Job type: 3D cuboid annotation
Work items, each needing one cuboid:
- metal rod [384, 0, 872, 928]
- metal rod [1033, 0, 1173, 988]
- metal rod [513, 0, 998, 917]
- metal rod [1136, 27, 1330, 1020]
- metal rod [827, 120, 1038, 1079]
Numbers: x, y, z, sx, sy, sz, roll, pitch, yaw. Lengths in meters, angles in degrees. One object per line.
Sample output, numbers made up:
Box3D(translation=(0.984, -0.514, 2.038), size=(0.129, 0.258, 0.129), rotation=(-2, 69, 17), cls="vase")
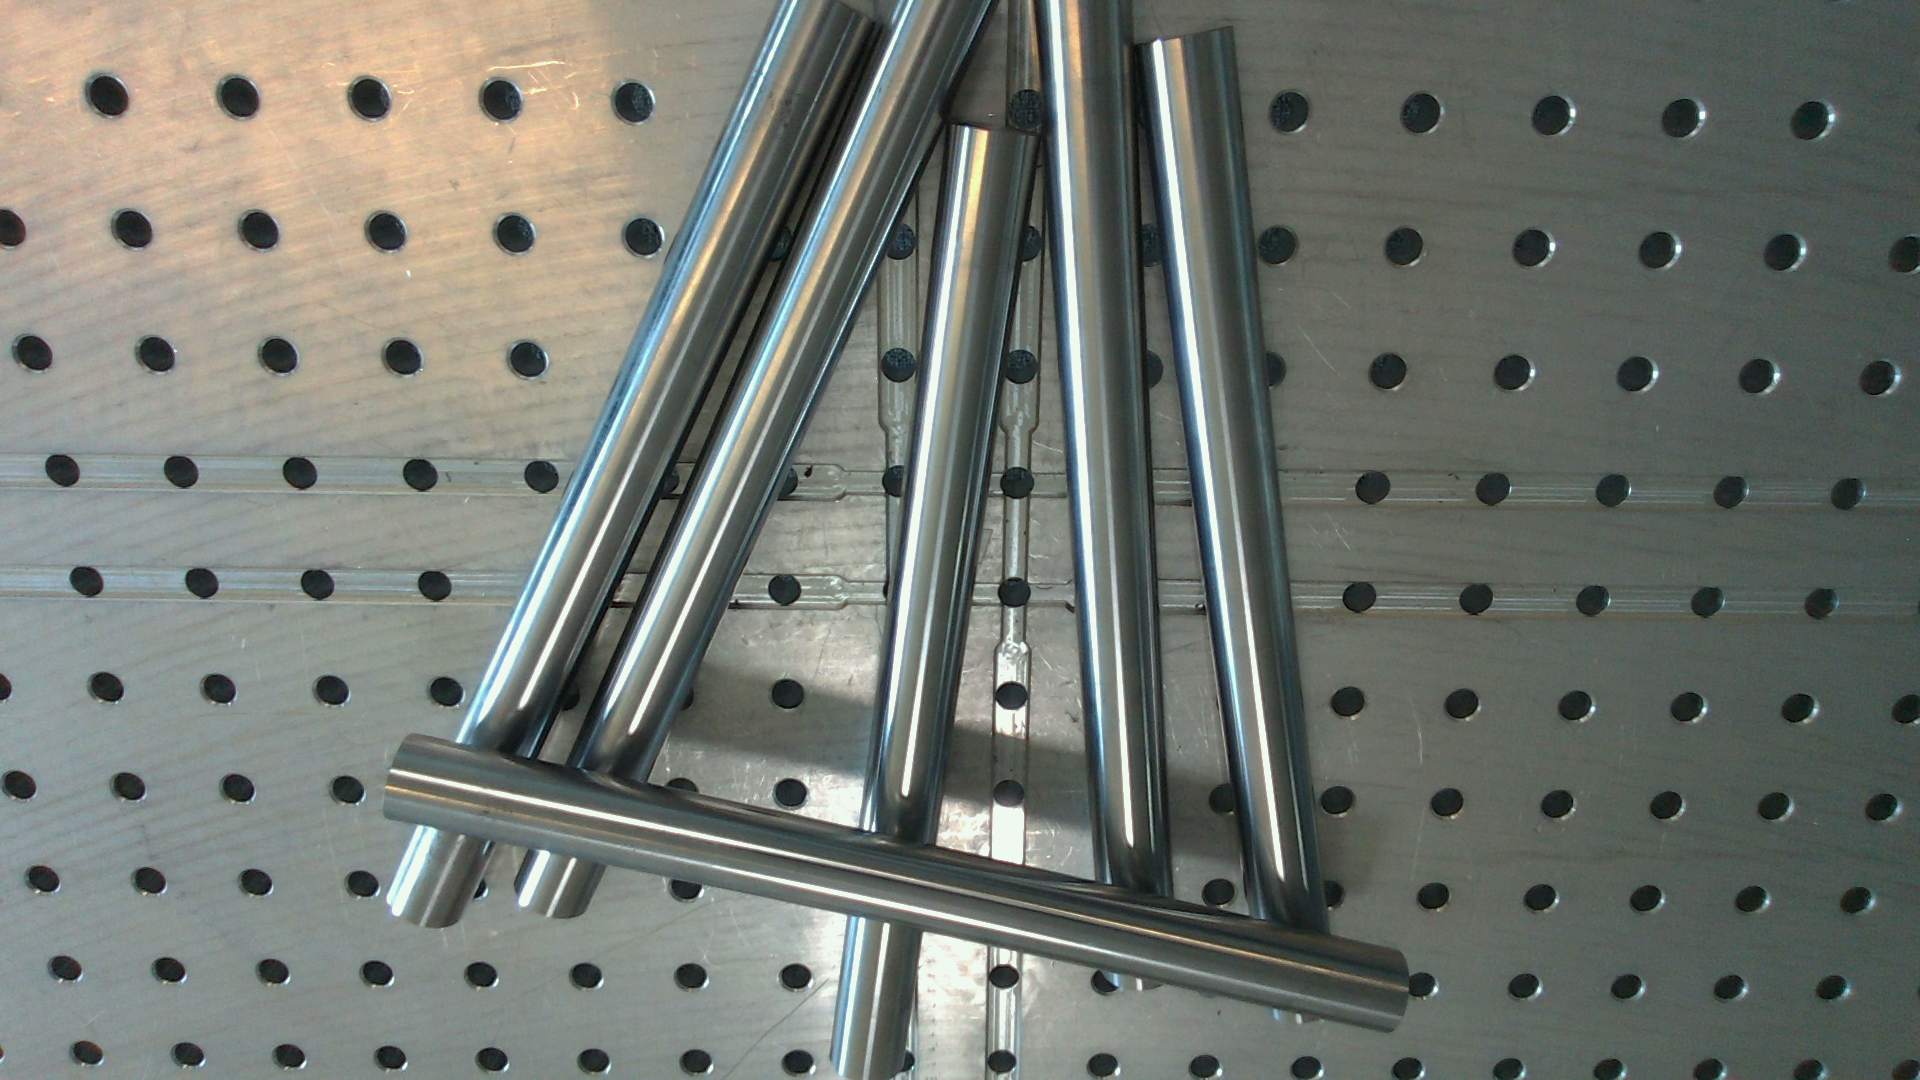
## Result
Box3D(translation=(-0.102, -0.011, 0.391), size=(0.025, 0.025, 0.300), rotation=(26, 108, -9), cls="metal rod")
Box3D(translation=(0.044, -0.002, 0.396), size=(0.025, 0.025, 0.300), rotation=(-5, 110, 2), cls="metal rod")
Box3D(translation=(-0.065, -0.016, 0.390), size=(0.025, 0.025, 0.300), rotation=(24, 108, -9), cls="metal rod")
Box3D(translation=(0.082, 0.010, 0.400), size=(0.025, 0.025, 0.300), rotation=(-9, 110, 3), cls="metal rod")
Box3D(translation=(-0.012, 0.032, 0.408), size=(0.025, 0.025, 0.300), rotation=(7, 110, -3), cls="metal rod")
